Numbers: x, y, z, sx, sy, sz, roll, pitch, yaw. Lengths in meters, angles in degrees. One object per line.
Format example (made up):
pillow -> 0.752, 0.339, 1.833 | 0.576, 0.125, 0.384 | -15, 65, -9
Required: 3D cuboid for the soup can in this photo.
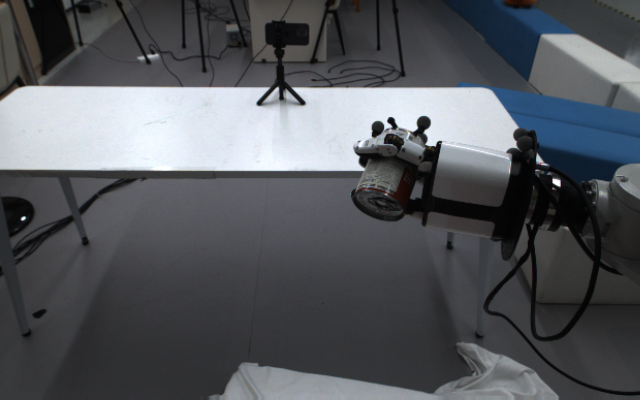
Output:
soup can -> 0.091, -0.035, 0.618 | 0.067, 0.067, 0.101 | 15, 62, 18
